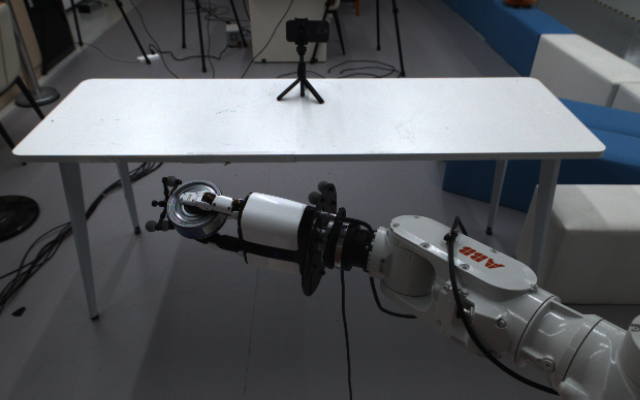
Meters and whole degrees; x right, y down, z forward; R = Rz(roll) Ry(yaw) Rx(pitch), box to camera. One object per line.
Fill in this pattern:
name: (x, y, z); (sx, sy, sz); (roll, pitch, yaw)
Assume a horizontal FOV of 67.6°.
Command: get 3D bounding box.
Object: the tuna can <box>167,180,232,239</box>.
tuna can: (-0.179, 0.016, 0.715); (0.085, 0.034, 0.085); (-2, 59, 3)
